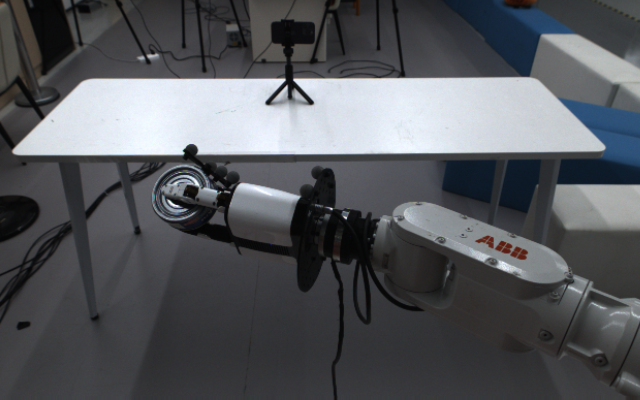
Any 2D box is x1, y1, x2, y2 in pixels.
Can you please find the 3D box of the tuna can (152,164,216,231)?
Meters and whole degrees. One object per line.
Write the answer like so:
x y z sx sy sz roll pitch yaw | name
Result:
-0.182 -0.004 0.656 0.085 0.034 0.085 -4 69 10 | tuna can
